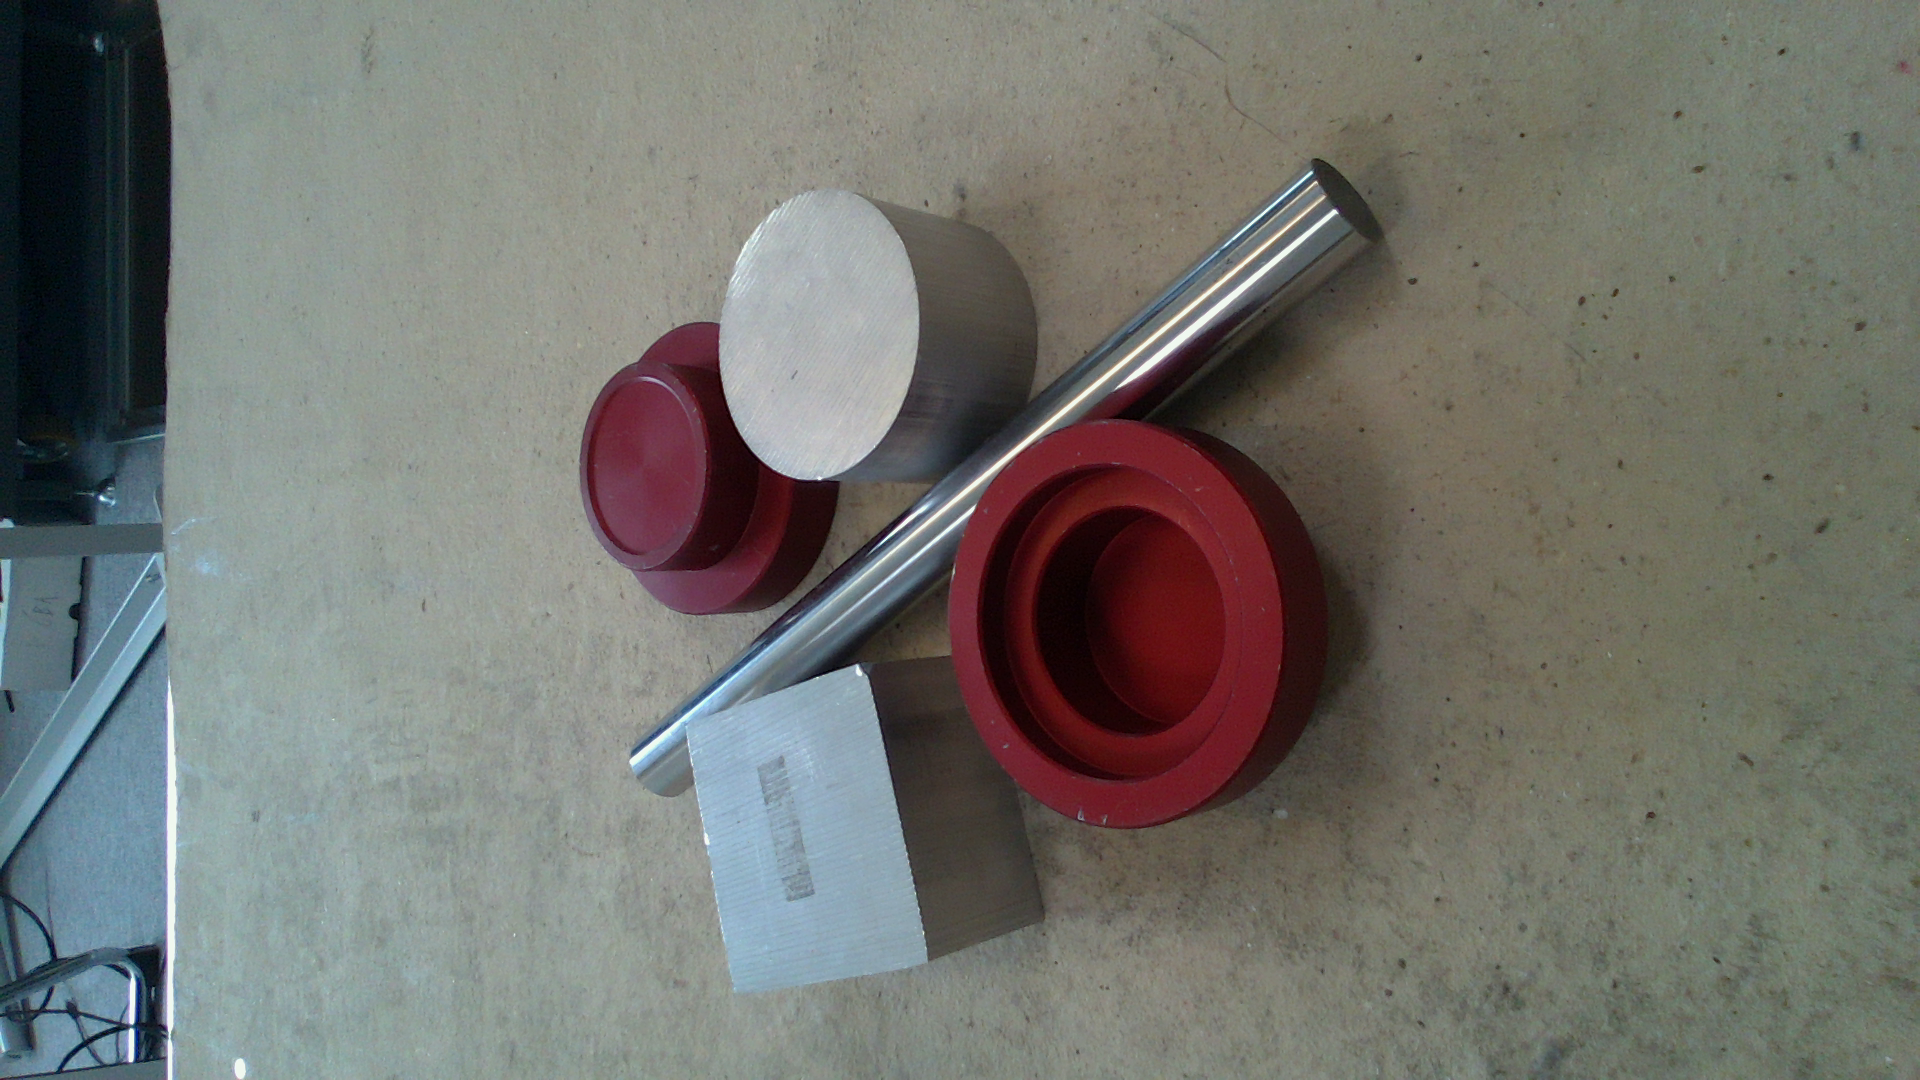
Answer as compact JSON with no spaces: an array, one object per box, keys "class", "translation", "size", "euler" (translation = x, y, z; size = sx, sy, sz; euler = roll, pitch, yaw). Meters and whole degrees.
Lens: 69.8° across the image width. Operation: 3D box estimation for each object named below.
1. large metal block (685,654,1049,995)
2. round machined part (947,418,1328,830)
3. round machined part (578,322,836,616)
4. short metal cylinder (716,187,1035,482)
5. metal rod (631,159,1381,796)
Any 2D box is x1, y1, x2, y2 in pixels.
[{"class":"large metal block","translation":[-0.029,0.083,0.404],"size":[0.080,0.050,0.080],"euler":[-22,76,38]},{"class":"round machined part","translation":[0.047,0.020,0.344],"size":[0.098,0.042,0.098],"euler":[0,90,40]},{"class":"round machined part","translation":[-0.090,-0.024,0.459],"size":[0.098,0.042,0.098],"euler":[0,90,40]},{"class":"short metal cylinder","translation":[-0.025,-0.057,0.399],"size":[0.080,0.050,0.080],"euler":[0,90,40]},{"class":"metal rod","translation":[-0.007,0.000,0.402],"size":[0.299,0.025,0.025],"euler":[-39,66,33]}]
